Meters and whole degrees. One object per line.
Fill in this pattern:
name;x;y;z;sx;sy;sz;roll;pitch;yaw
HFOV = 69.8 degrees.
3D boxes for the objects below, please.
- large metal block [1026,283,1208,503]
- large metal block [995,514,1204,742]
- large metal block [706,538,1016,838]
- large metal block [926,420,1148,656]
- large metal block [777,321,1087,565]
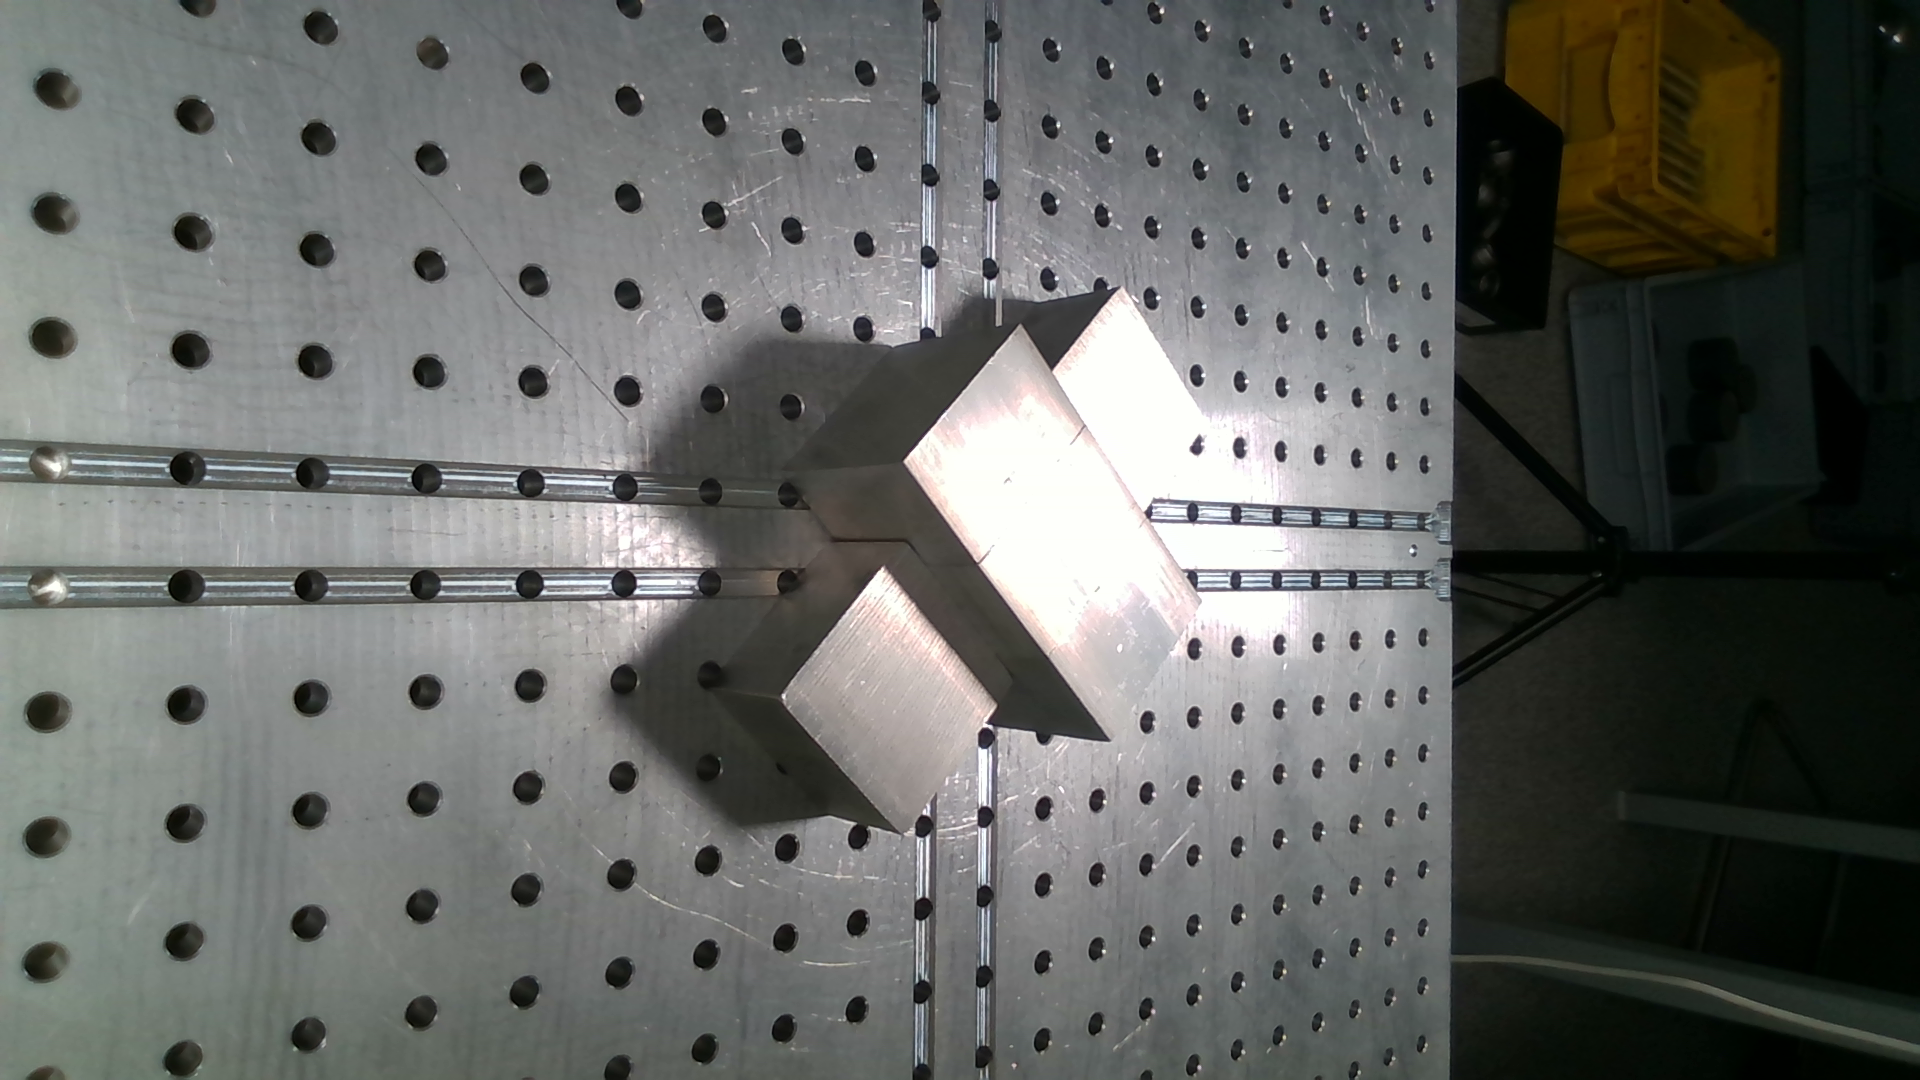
large metal block;0.053;-0.054;0.612;0.080;0.050;0.080;52;60;-26
large metal block;0.043;0.035;0.587;0.080;0.080;0.050;-52;120;-28
large metal block;-0.037;0.056;0.539;0.080;0.050;0.080;-52;119;-28
large metal block;0.016;-0.001;0.564;0.080;0.080;0.050;-52;120;-28
large metal block;-0.011;-0.037;0.541;0.080;0.080;0.050;-52;120;-28
